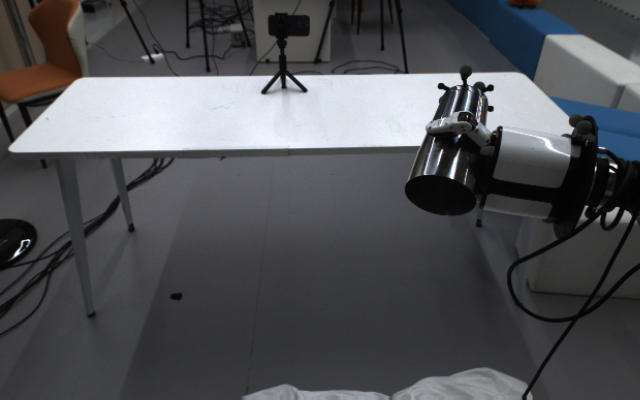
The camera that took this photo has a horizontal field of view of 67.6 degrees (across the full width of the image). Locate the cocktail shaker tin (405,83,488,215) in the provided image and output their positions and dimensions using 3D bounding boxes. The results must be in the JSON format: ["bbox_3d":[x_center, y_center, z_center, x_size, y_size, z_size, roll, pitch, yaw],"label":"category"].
[{"bbox_3d":[0.181,-0.074,0.660,0.093,0.093,0.170,14,61,17],"label":"cocktail shaker tin"}]
